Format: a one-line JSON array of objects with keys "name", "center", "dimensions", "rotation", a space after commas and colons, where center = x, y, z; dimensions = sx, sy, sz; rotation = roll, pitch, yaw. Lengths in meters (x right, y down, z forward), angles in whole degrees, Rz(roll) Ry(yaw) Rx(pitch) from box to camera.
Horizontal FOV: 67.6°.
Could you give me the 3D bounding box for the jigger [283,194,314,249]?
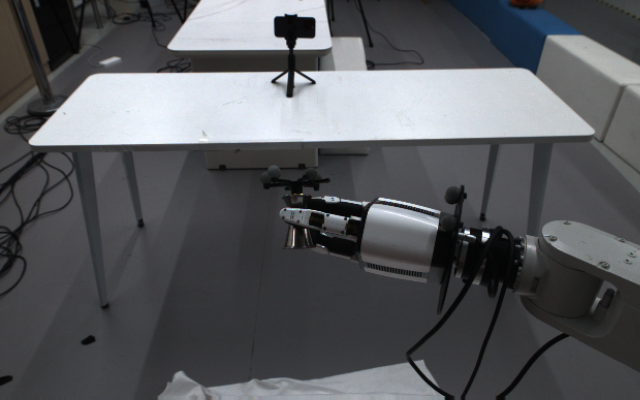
[{"name": "jigger", "center": [-0.028, 0.028, 0.623], "dimensions": [0.043, 0.071, 0.043], "rotation": [-2, -7, 0]}]
